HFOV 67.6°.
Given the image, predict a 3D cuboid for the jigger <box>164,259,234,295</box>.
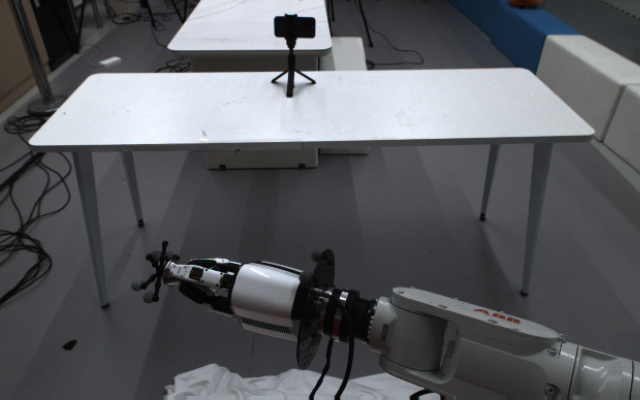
[{"bbox_3d":[-0.175,0.105,0.685,0.071,0.043,0.043,7,35,14],"label":"jigger"}]
